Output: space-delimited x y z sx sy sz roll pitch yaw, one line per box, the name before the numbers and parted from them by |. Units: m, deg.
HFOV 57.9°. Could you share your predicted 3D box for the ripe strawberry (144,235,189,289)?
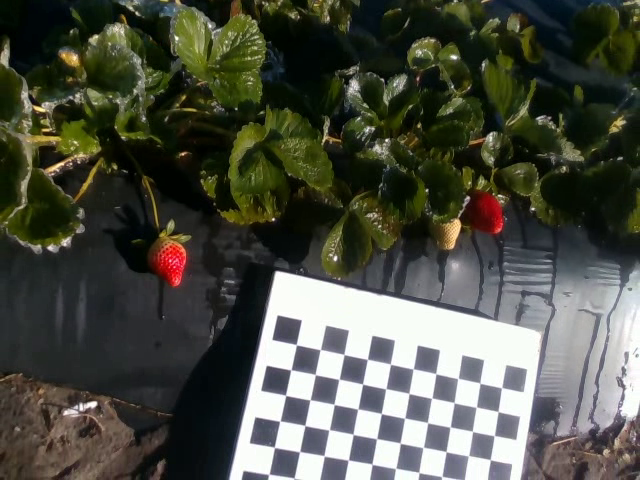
ripe strawberry | -0.136 0.022 0.520 0.039 0.053 0.041 -8 -21 -13
